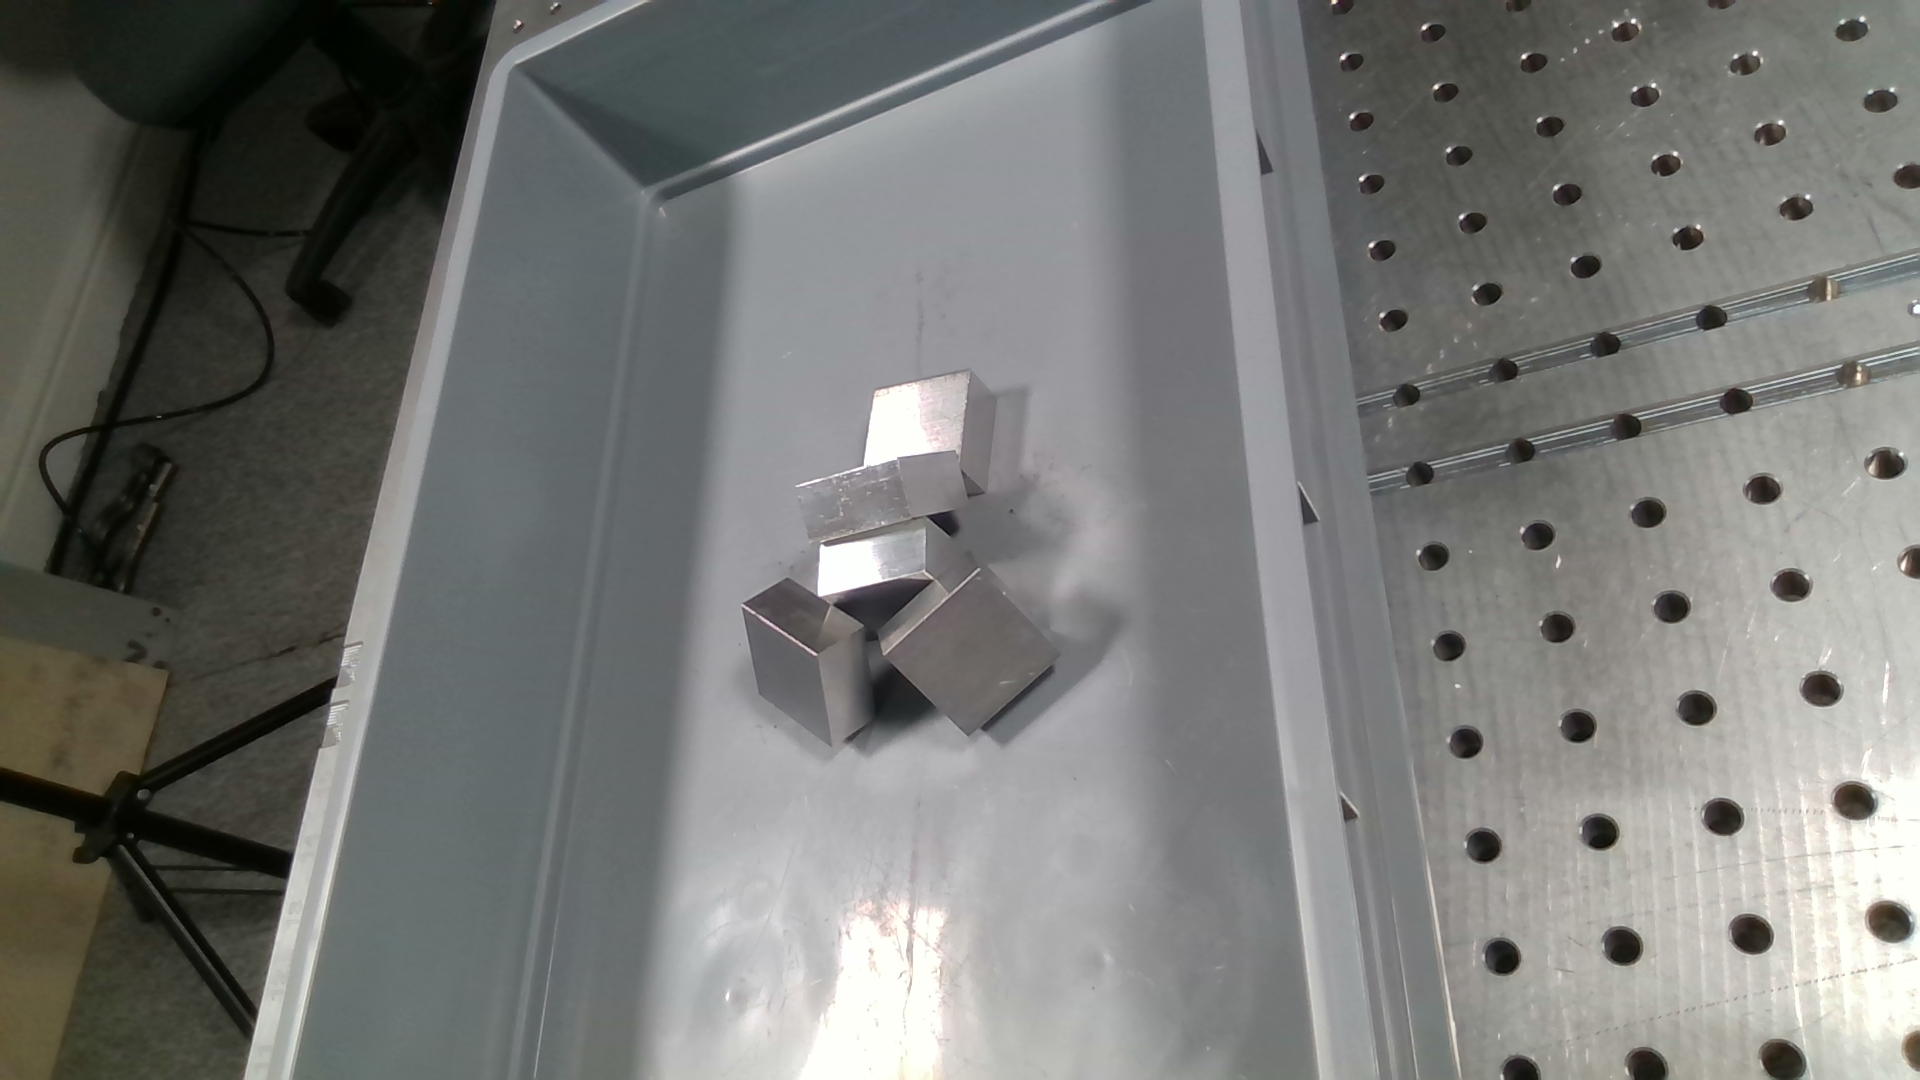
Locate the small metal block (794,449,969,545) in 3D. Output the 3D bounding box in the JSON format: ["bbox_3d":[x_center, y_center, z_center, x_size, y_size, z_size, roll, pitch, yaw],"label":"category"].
[{"bbox_3d":[-0.032,-0.018,0.574,0.050,0.050,0.025,-14,90,29],"label":"small metal block"}]

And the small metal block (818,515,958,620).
[{"bbox_3d":[-0.024,0.017,0.574,0.050,0.050,0.025,-14,59,25],"label":"small metal block"}]

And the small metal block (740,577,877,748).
[{"bbox_3d":[-0.063,0.051,0.577,0.025,0.050,0.050,-32,43,-33],"label":"small metal block"}]

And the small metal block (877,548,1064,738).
[{"bbox_3d":[0.004,0.040,0.541,0.050,0.050,0.025,-42,19,6],"label":"small metal block"}]

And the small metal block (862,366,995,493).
[{"bbox_3d":[-0.014,-0.046,0.616,0.050,0.025,0.050,-8,62,28],"label":"small metal block"}]
